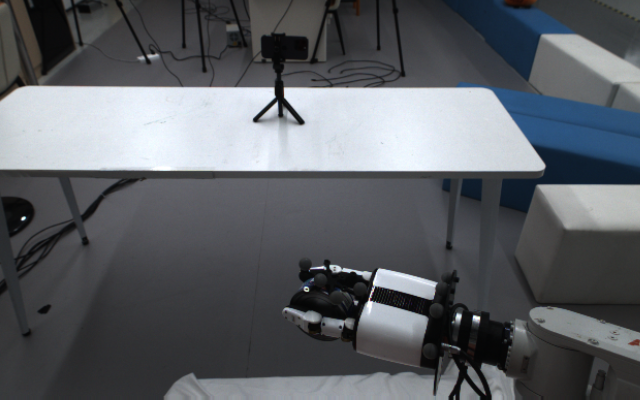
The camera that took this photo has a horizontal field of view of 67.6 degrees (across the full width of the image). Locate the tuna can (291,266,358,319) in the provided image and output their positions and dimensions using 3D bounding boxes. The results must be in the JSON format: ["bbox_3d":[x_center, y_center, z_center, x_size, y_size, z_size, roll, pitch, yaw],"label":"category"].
[{"bbox_3d":[0.007,0.148,0.662,0.085,0.085,0.034,16,28,19],"label":"tuna can"}]
